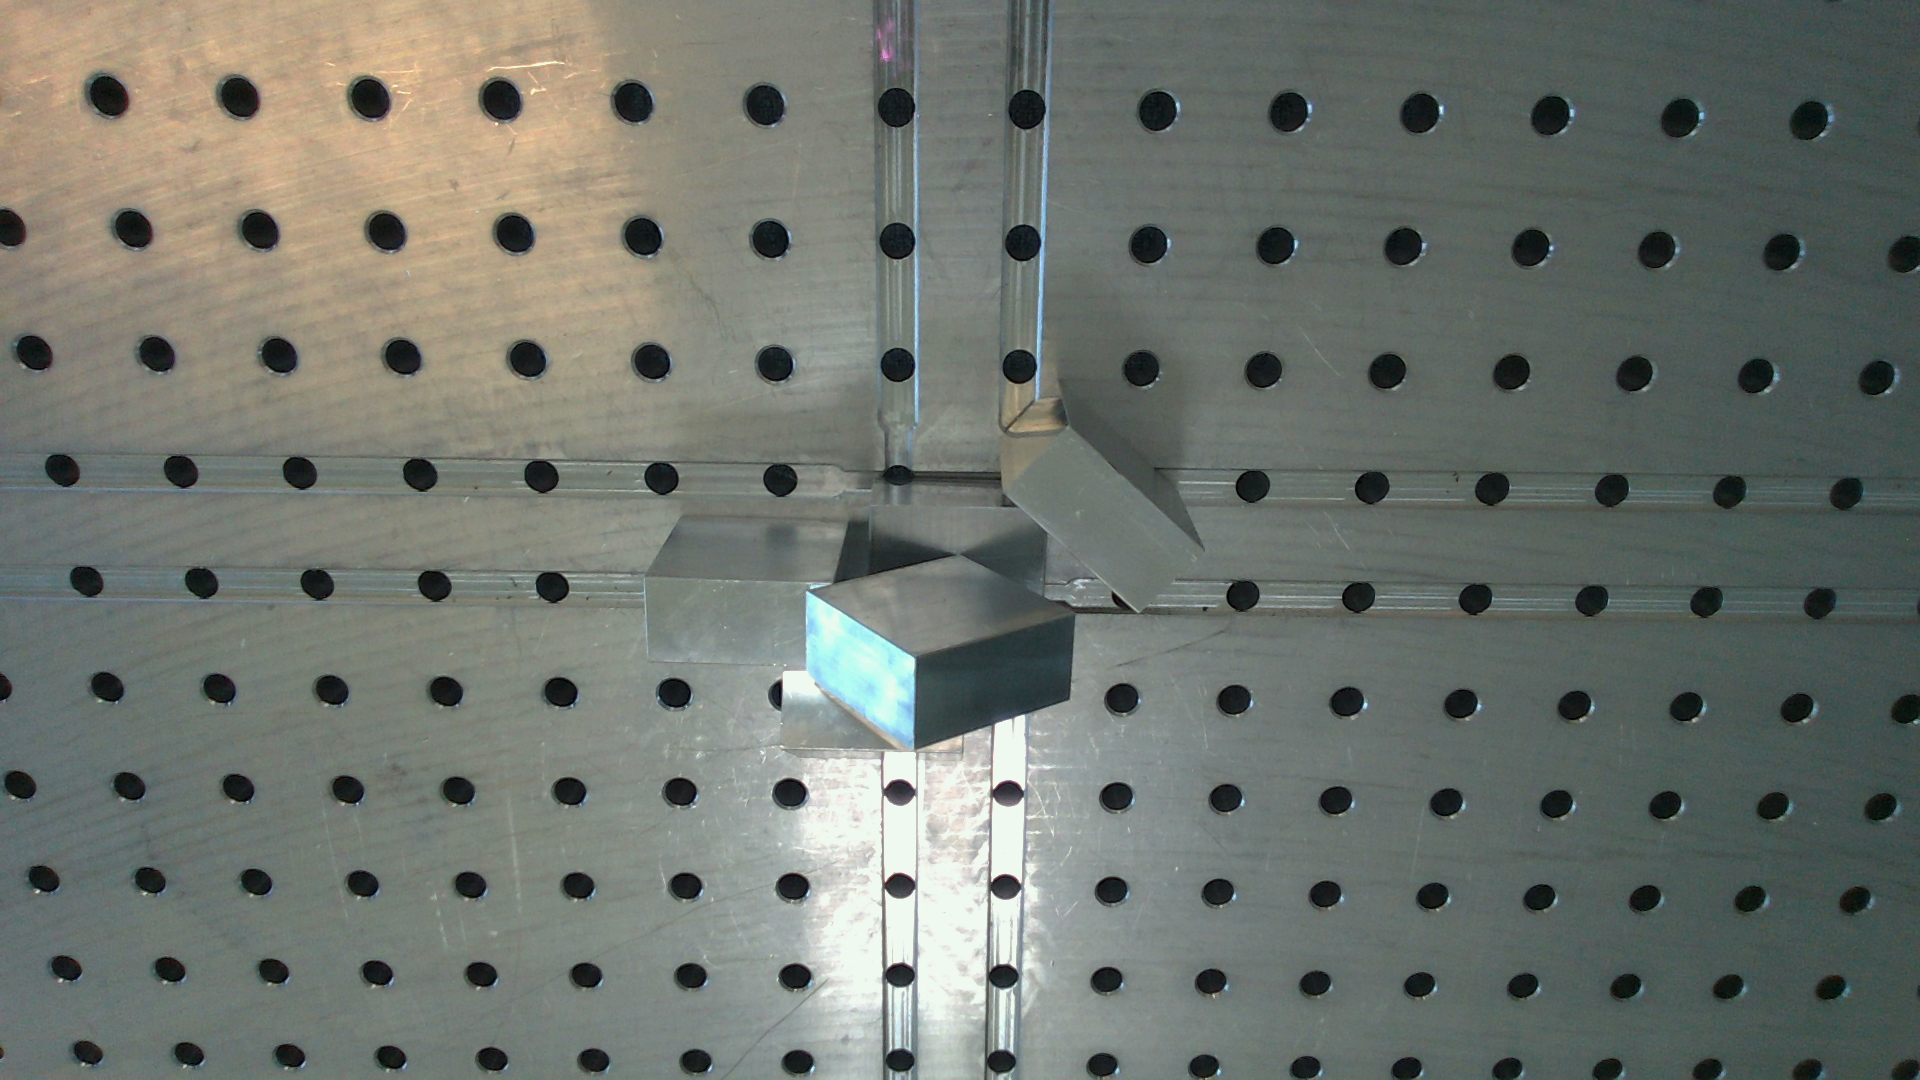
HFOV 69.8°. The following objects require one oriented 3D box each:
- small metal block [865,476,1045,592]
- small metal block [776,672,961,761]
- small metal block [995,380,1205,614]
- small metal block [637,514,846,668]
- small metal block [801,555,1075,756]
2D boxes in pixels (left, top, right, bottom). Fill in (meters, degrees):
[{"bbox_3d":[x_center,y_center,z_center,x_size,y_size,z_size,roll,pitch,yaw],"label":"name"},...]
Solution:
[{"bbox_3d":[-0.002,0.009,0.400,0.050,0.025,0.050,1,110,-1],"label":"small metal block"},{"bbox_3d":[-0.025,0.050,0.399,0.050,0.050,0.025,1,79,0],"label":"small metal block"},{"bbox_3d":[0.037,-0.013,0.378,0.050,0.050,0.025,41,104,-14],"label":"small metal block"},{"bbox_3d":[-0.059,0.013,0.387,0.050,0.050,0.025,2,111,0],"label":"small metal block"},{"bbox_3d":[-0.006,0.028,0.356,0.050,0.050,0.025,-13,115,-35],"label":"small metal block"}]
